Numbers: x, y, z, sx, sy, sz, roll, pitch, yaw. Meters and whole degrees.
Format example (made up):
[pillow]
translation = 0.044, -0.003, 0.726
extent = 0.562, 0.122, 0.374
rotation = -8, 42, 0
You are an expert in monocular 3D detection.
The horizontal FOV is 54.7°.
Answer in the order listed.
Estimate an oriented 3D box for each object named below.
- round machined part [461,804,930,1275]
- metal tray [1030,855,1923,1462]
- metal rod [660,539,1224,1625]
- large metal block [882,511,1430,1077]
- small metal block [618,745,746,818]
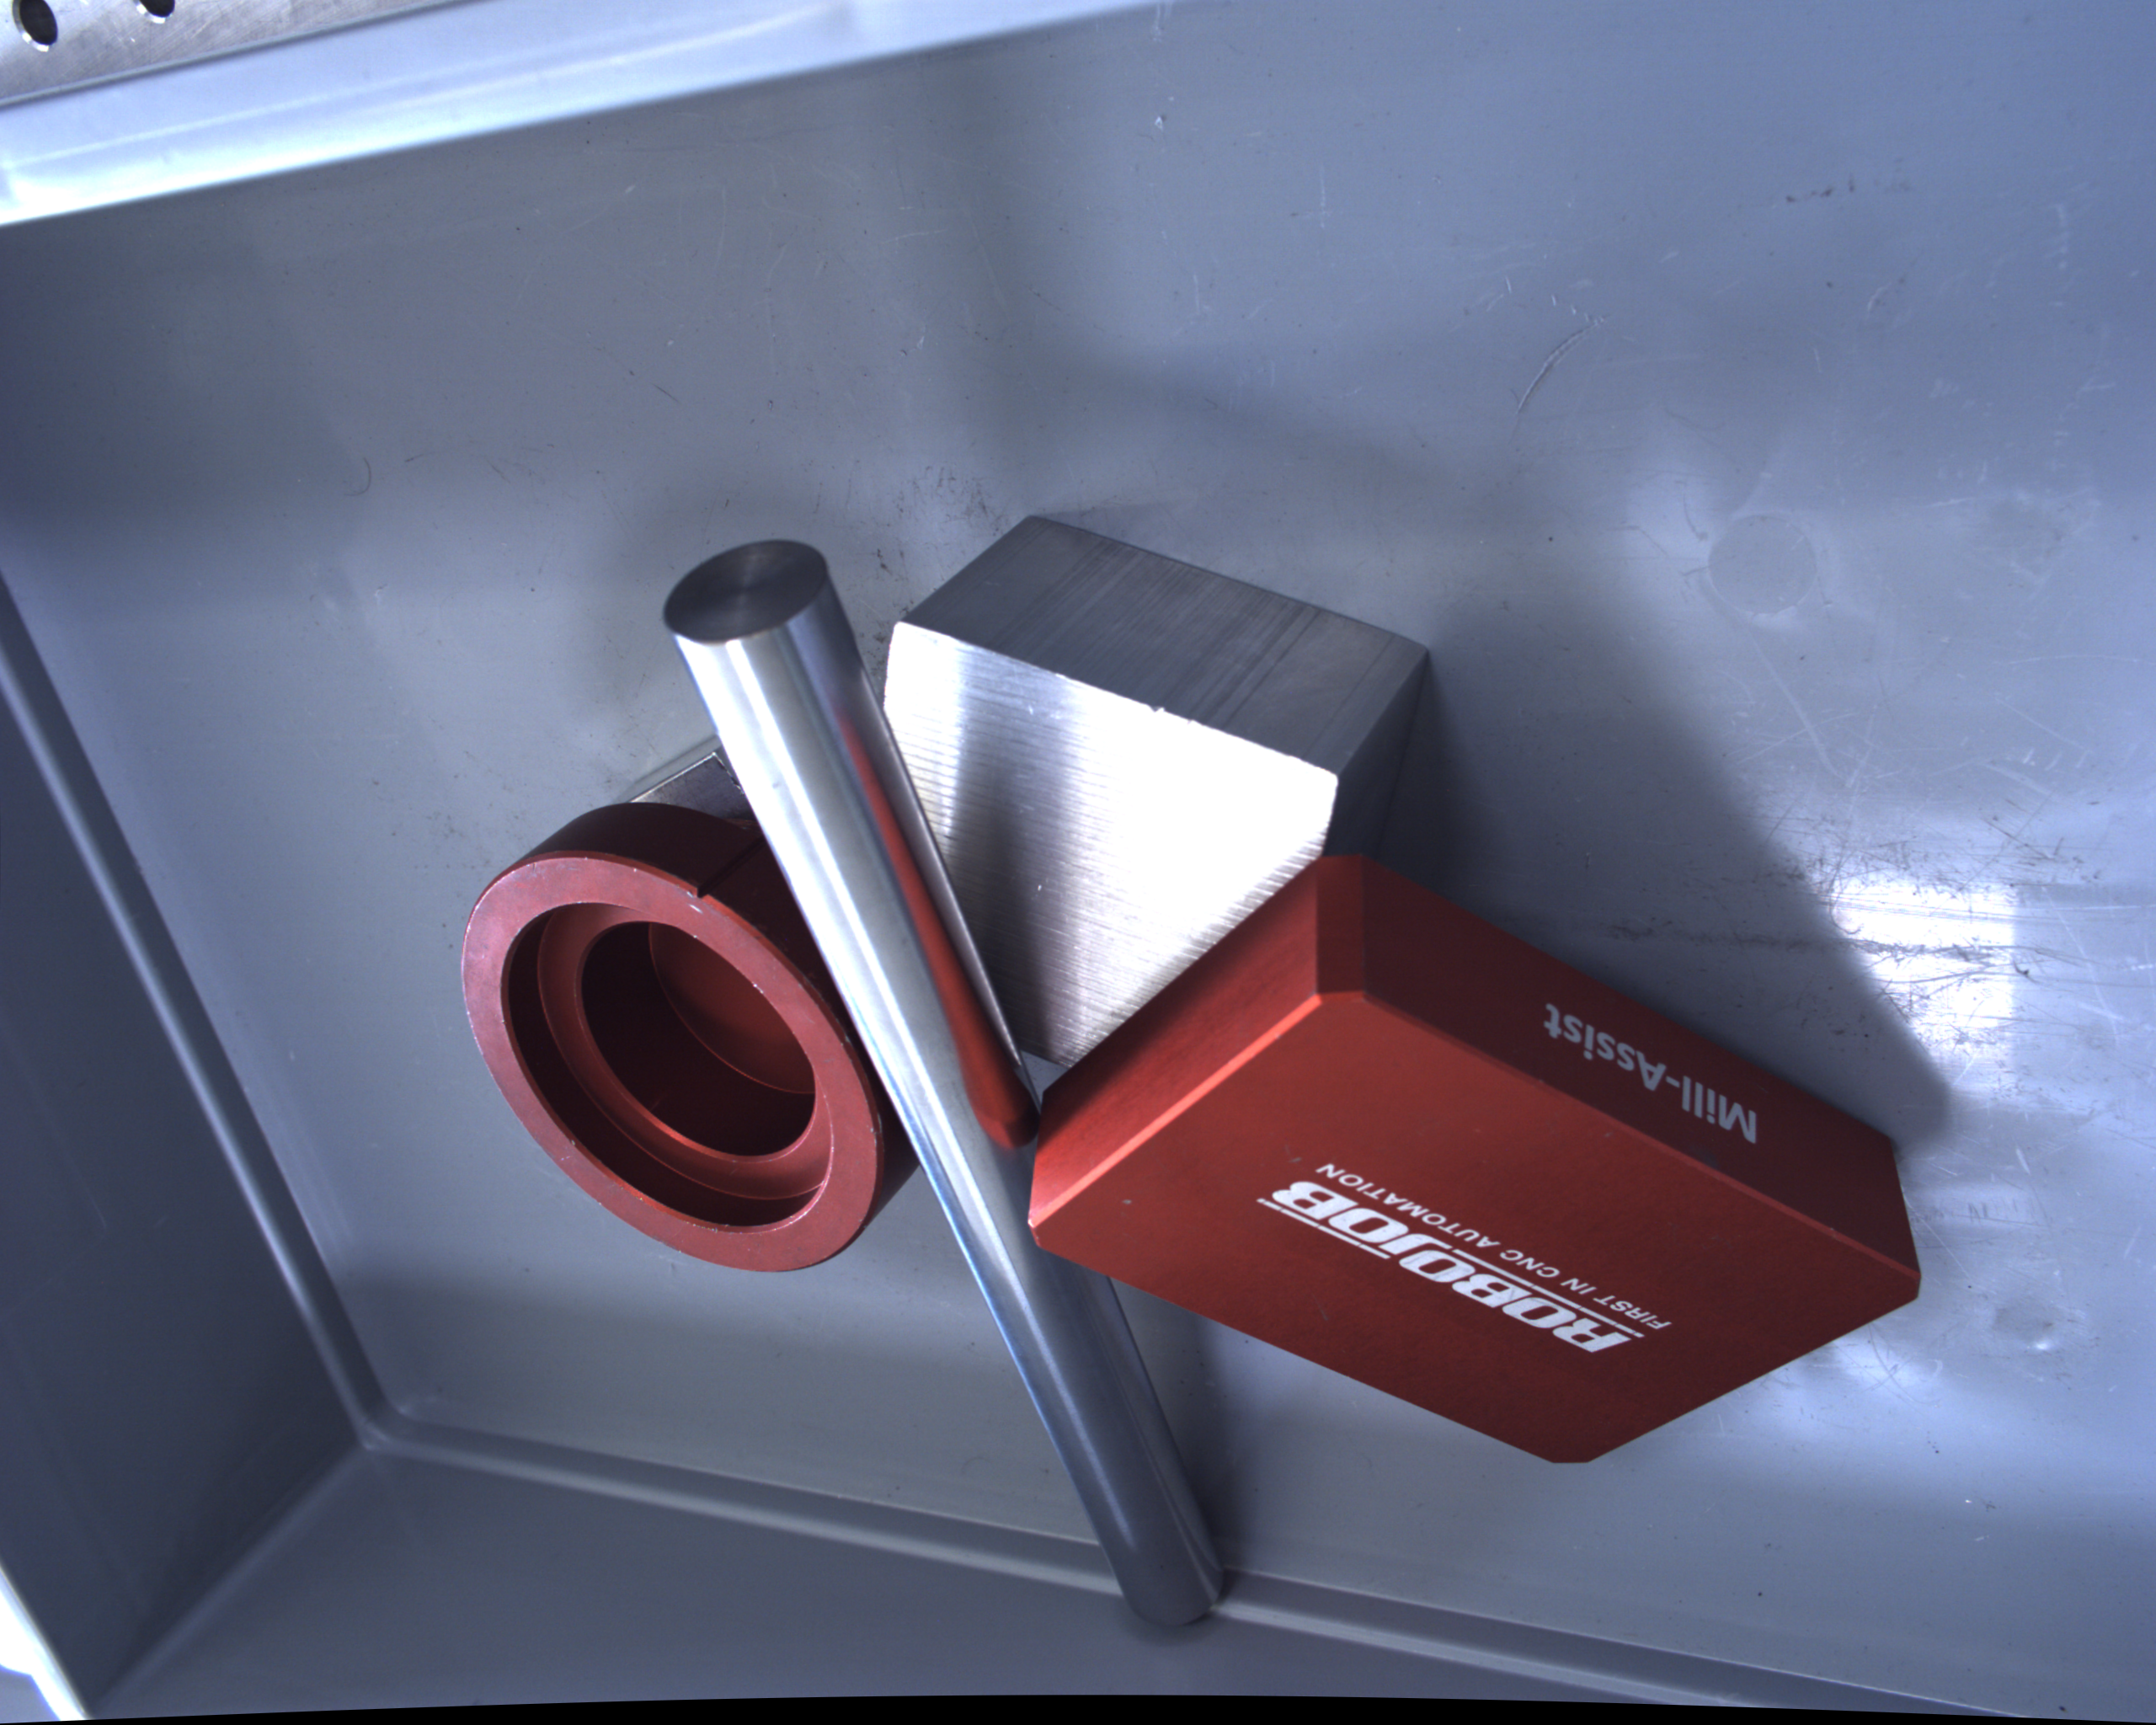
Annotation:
[round machined part]
translation = -0.071, 0.031, 0.417
extent = 0.098, 0.042, 0.097
rotation = 15, 126, 22
[metal tray]
translation = 0.069, 0.058, 0.370
extent = 0.131, 0.030, 0.090
rotation = 27, 133, -21
[metal rod]
translation = -0.013, 0.066, 0.403
extent = 0.025, 0.025, 0.299
rotation = 6, 137, 25
[large metal block]
translation = 0.010, -0.008, 0.381
extent = 0.080, 0.050, 0.079
rotation = 21, 126, 15
[small metal block]
translation = -0.072, 0.000, 0.445
extent = 0.050, 0.025, 0.050
rotation = -24, 106, 36
